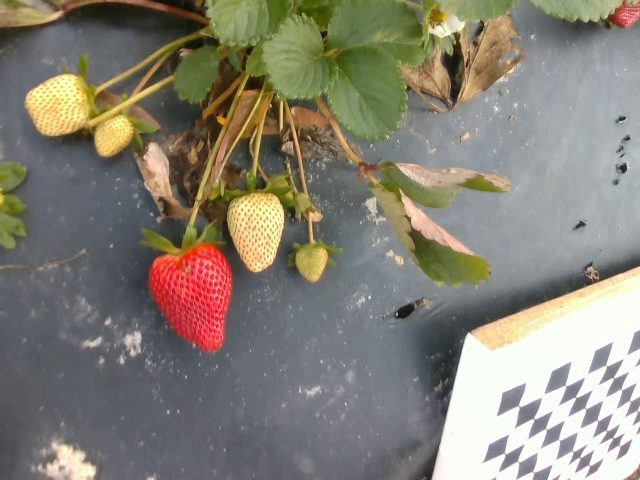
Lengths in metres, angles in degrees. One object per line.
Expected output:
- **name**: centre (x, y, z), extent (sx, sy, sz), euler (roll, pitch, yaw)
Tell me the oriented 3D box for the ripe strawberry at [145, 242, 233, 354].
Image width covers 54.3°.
- **ripe strawberry**: centre (-0.062, 0.028, 0.313), extent (0.050, 0.059, 0.034), euler (-22, -10, -19)
